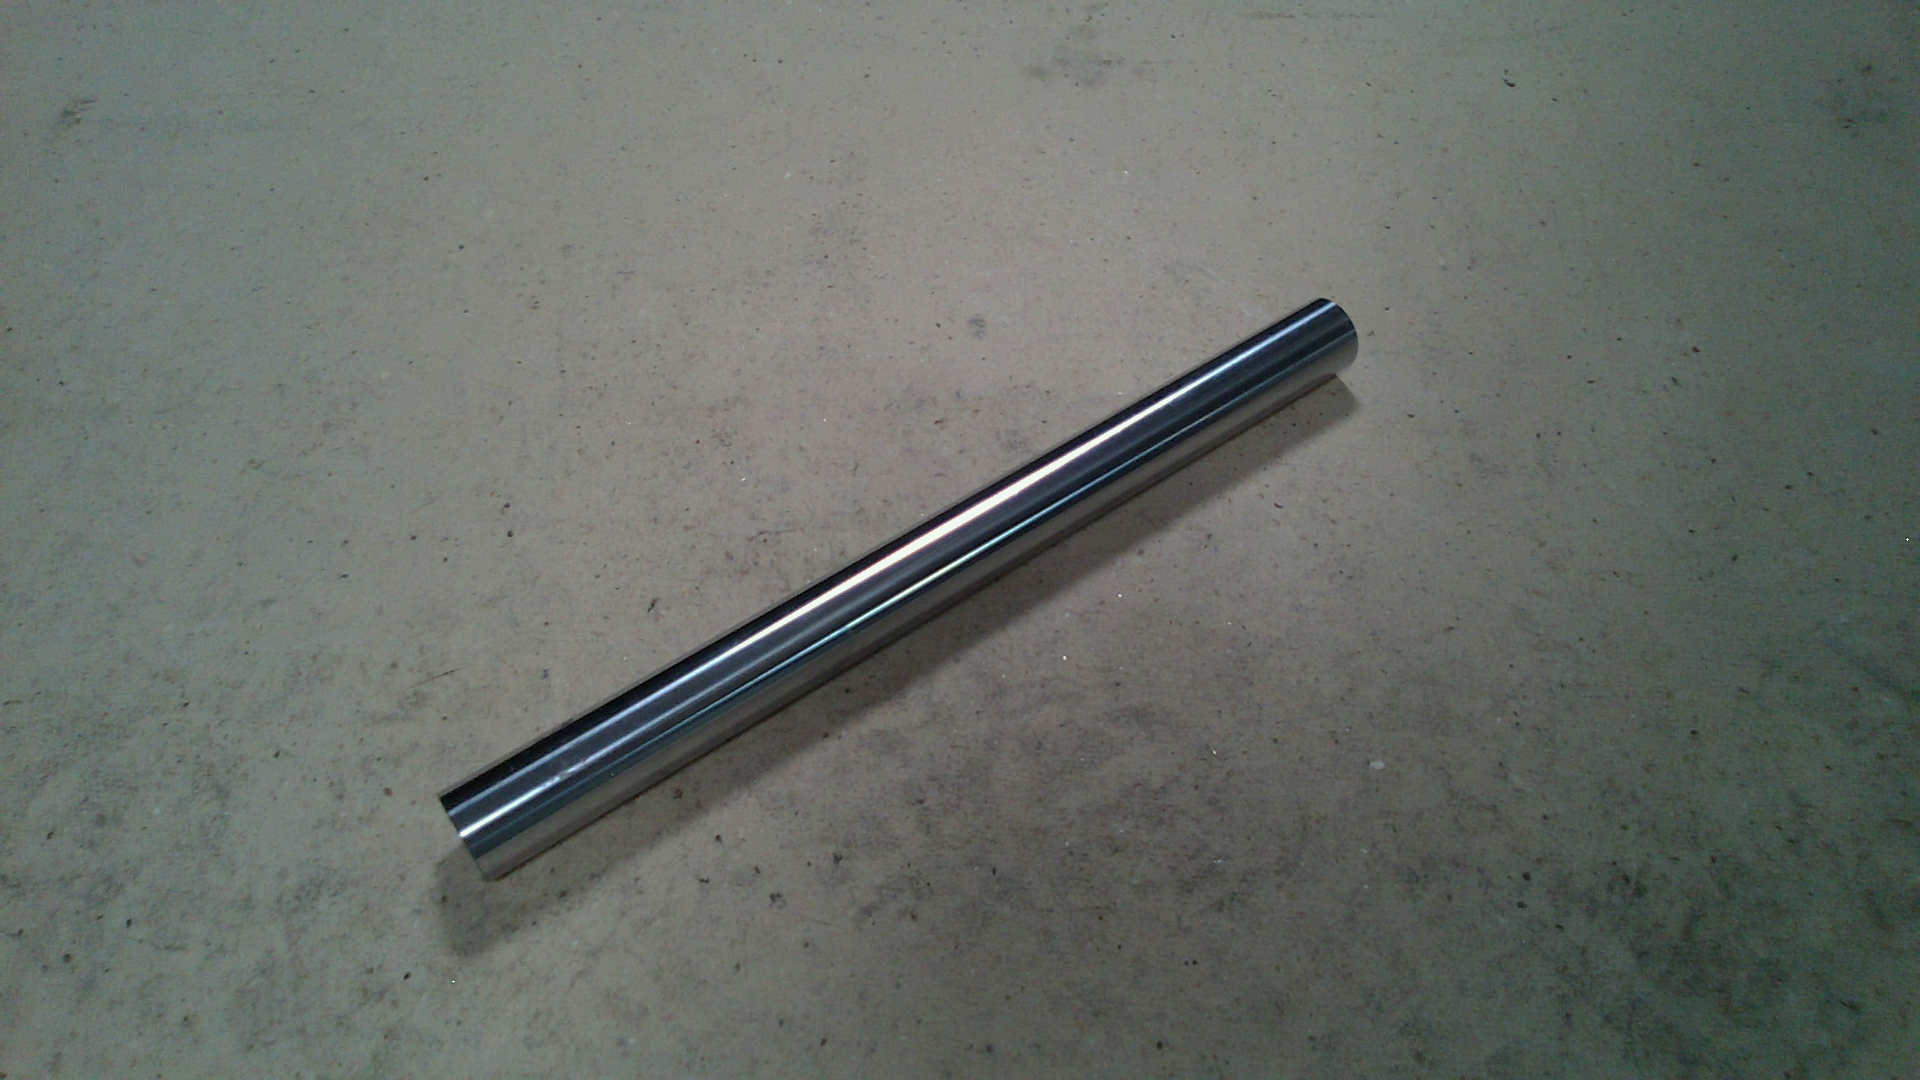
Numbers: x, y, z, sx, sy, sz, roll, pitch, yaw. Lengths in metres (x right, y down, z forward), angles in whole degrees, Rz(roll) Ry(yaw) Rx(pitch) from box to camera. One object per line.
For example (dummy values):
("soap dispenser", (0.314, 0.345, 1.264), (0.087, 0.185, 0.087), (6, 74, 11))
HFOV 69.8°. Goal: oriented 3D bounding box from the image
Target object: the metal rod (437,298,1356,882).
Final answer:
("metal rod", (0.000, 0.002, 0.390), (0.301, 0.025, 0.025), (-30, 56, -23))
